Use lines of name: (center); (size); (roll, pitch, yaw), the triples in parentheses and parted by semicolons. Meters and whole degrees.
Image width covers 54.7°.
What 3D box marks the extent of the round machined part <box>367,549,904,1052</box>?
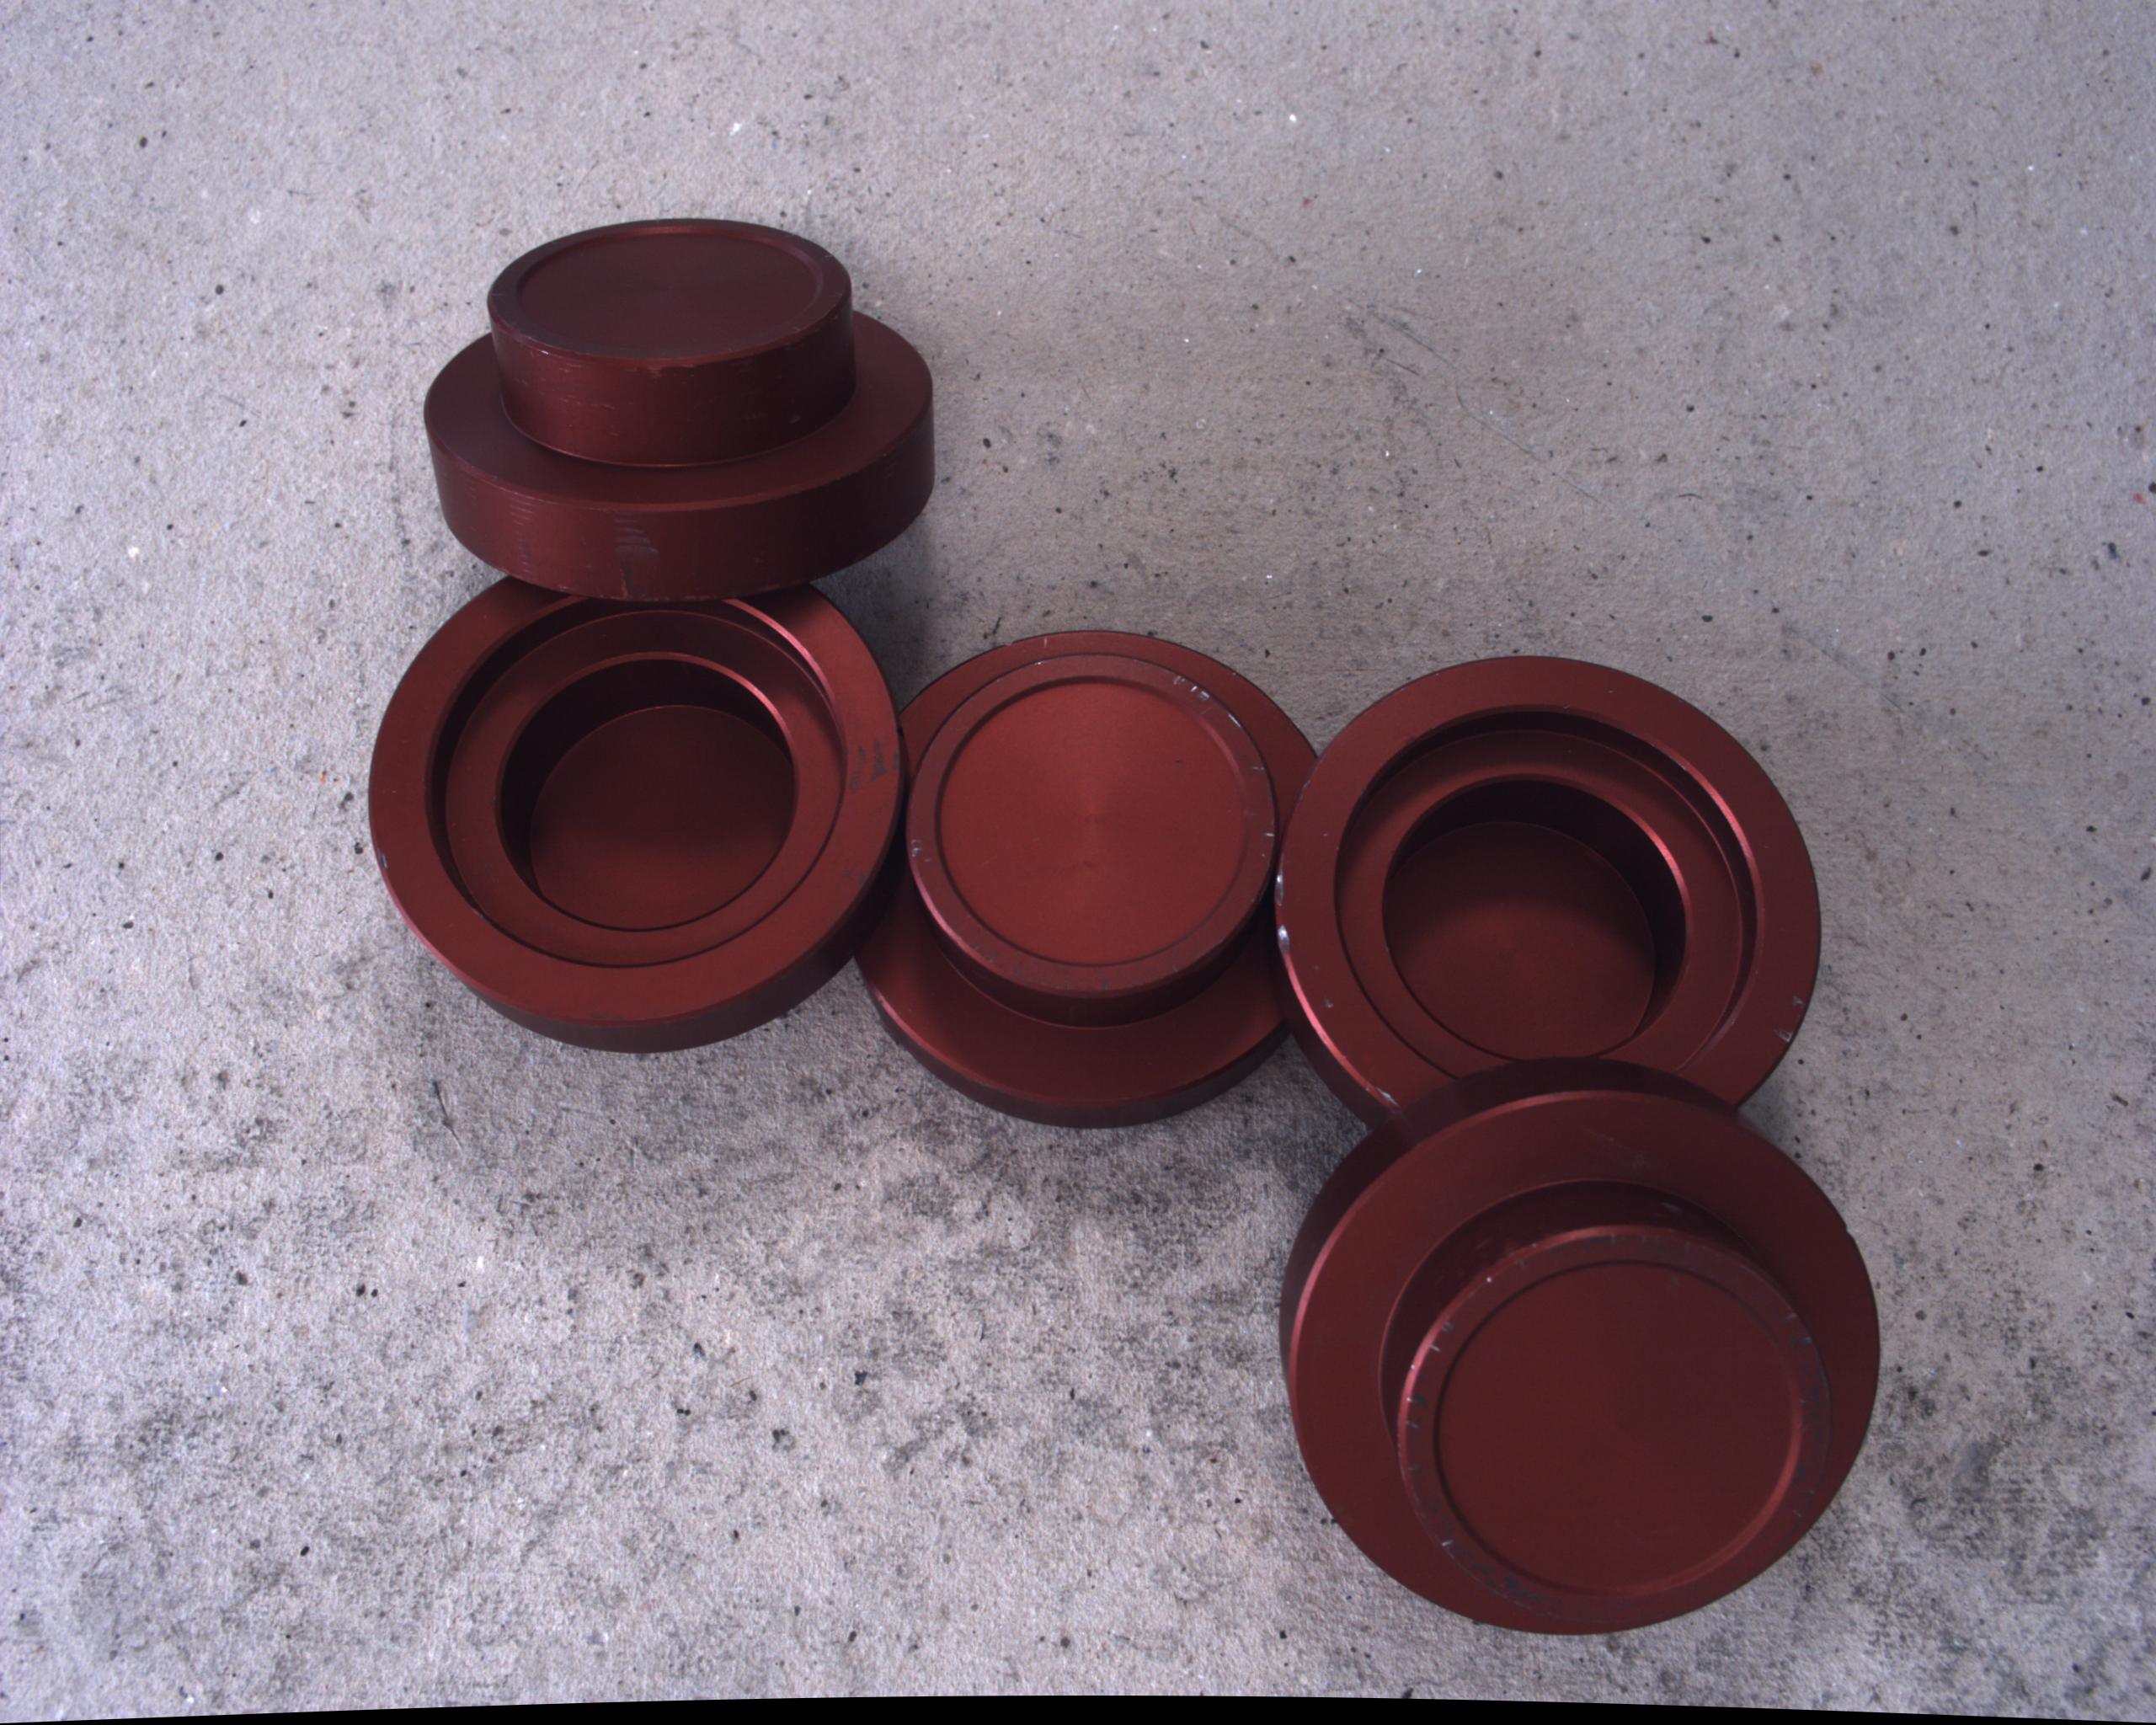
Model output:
round machined part: (-0.081, -0.011, 0.403); (0.099, 0.042, 0.098); (0, 70, 1)

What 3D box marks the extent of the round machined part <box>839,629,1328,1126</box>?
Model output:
round machined part: (0.003, -0.002, 0.399); (0.099, 0.042, 0.098); (0, 68, 1)

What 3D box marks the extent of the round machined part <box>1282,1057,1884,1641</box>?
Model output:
round machined part: (0.085, 0.084, 0.346); (0.099, 0.042, 0.097); (0, 99, 0)

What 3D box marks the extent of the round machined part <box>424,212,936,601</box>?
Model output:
round machined part: (-0.078, -0.095, 0.411); (0.099, 0.042, 0.098); (1, 39, -1)

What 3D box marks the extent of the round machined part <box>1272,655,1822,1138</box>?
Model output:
round machined part: (0.085, 0.013, 0.395); (0.099, 0.042, 0.098); (0, 70, 1)
